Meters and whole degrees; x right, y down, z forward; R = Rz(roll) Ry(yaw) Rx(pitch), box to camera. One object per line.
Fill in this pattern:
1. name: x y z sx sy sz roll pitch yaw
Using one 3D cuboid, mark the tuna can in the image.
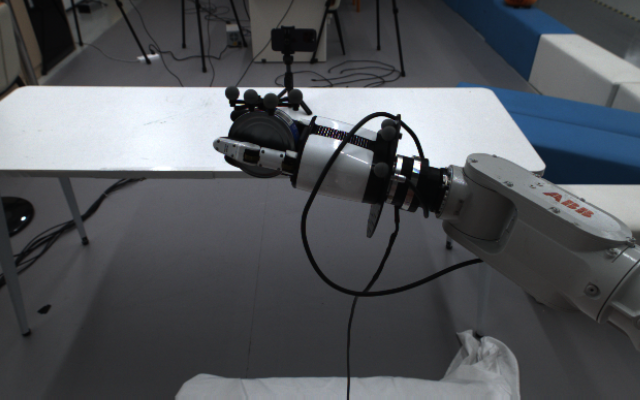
1. tuna can: -0.068 -0.073 0.605 0.085 0.085 0.034 9 23 9
